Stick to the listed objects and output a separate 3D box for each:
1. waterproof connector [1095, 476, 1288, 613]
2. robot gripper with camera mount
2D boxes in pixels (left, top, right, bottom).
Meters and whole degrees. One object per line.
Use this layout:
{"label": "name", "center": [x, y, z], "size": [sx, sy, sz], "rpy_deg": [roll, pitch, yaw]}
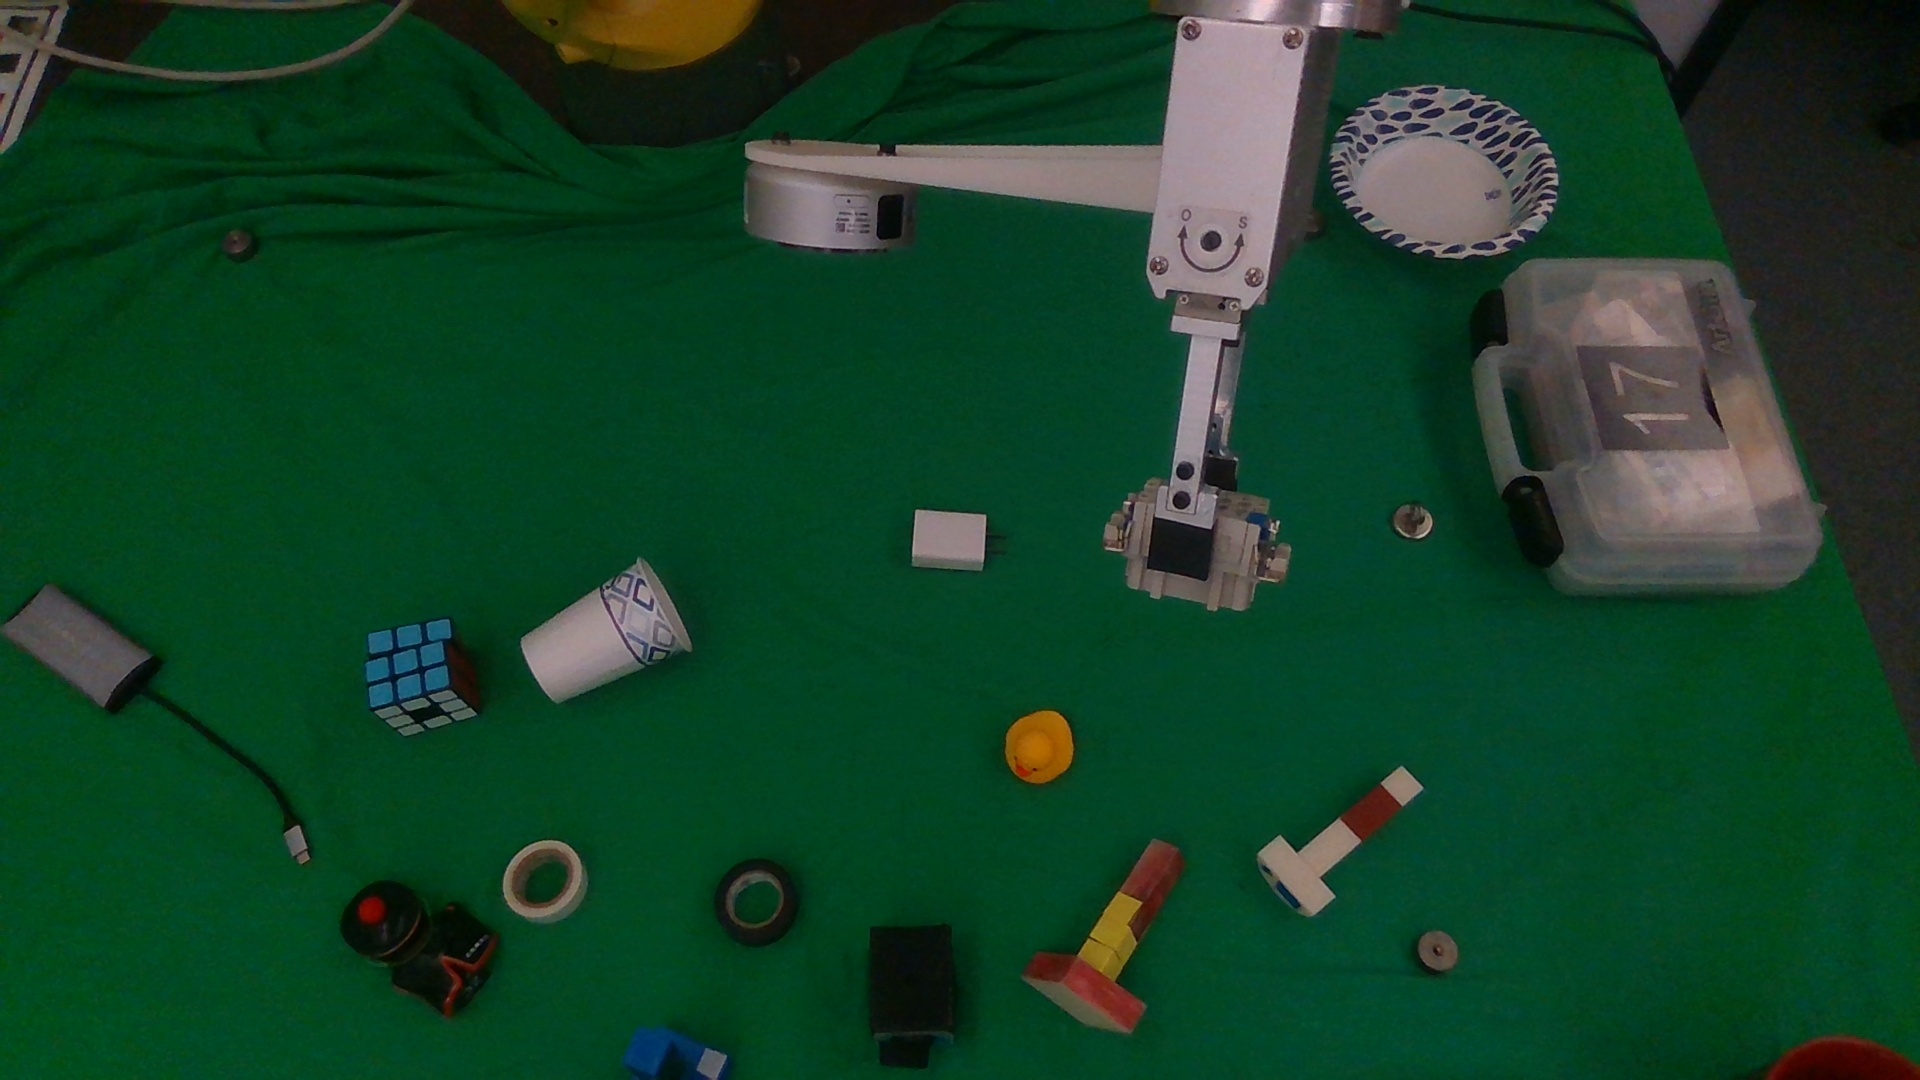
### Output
{"label": "waterproof connector", "center": [0.081, 0.002, 0.482], "size": [0.065, 0.037, 0.035], "rpy_deg": [10, 23, 11]}
{"label": "robot gripper with camera mount", "center": [0.009, -0.083, 0.471], "size": [0.194, 0.158, 0.119], "rpy_deg": [12, 21, 14]}
